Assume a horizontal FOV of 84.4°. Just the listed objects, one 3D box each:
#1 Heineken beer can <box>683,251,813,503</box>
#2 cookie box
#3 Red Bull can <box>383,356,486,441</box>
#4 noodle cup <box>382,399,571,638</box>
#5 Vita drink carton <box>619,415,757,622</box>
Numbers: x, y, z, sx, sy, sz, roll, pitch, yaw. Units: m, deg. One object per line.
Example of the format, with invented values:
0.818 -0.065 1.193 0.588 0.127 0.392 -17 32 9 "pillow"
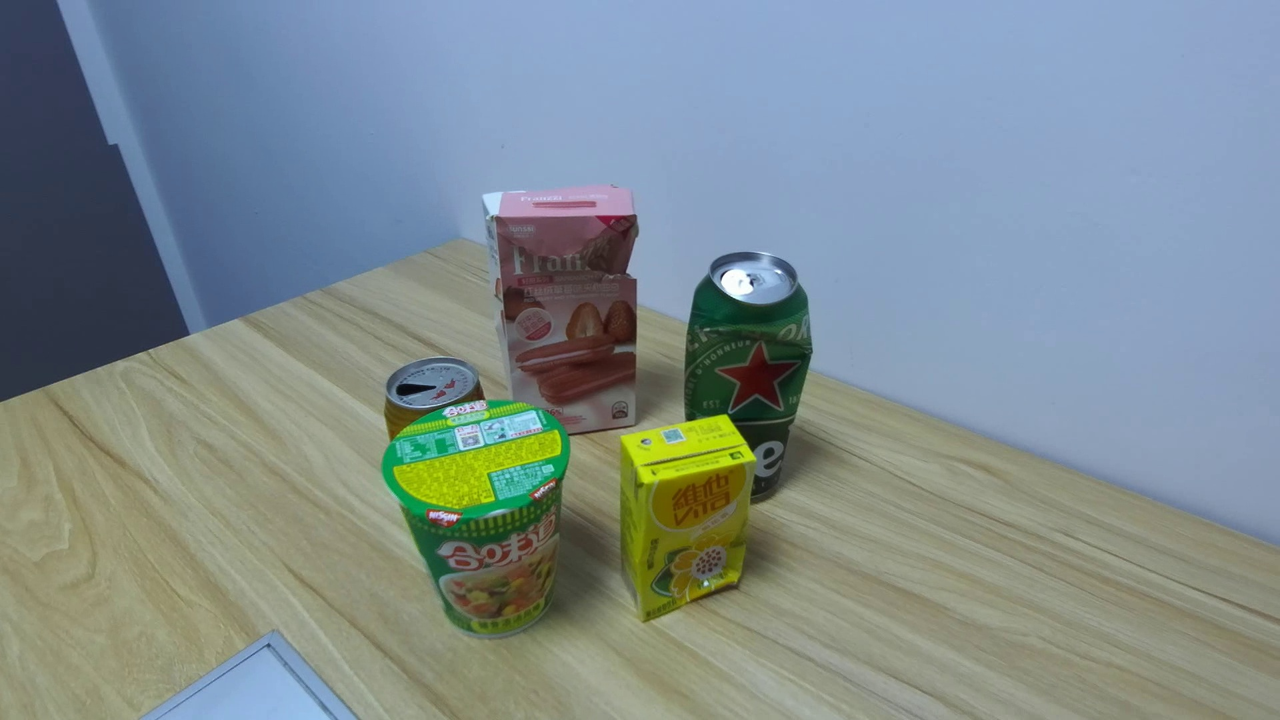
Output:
0.068 0.017 0.466 0.068 0.168 0.069 23 41 29 "Heineken beer can"
-0.054 -0.031 0.527 0.105 0.186 0.059 -4 34 -9 "cookie box"
-0.137 0.052 0.486 0.068 0.093 0.068 2 31 -1 "Red Bull can"
-0.086 0.094 0.398 0.097 0.110 0.097 2 32 -1 "noodle cup"
0.029 0.090 0.403 0.076 0.109 0.043 -9 33 -15 "Vita drink carton"
